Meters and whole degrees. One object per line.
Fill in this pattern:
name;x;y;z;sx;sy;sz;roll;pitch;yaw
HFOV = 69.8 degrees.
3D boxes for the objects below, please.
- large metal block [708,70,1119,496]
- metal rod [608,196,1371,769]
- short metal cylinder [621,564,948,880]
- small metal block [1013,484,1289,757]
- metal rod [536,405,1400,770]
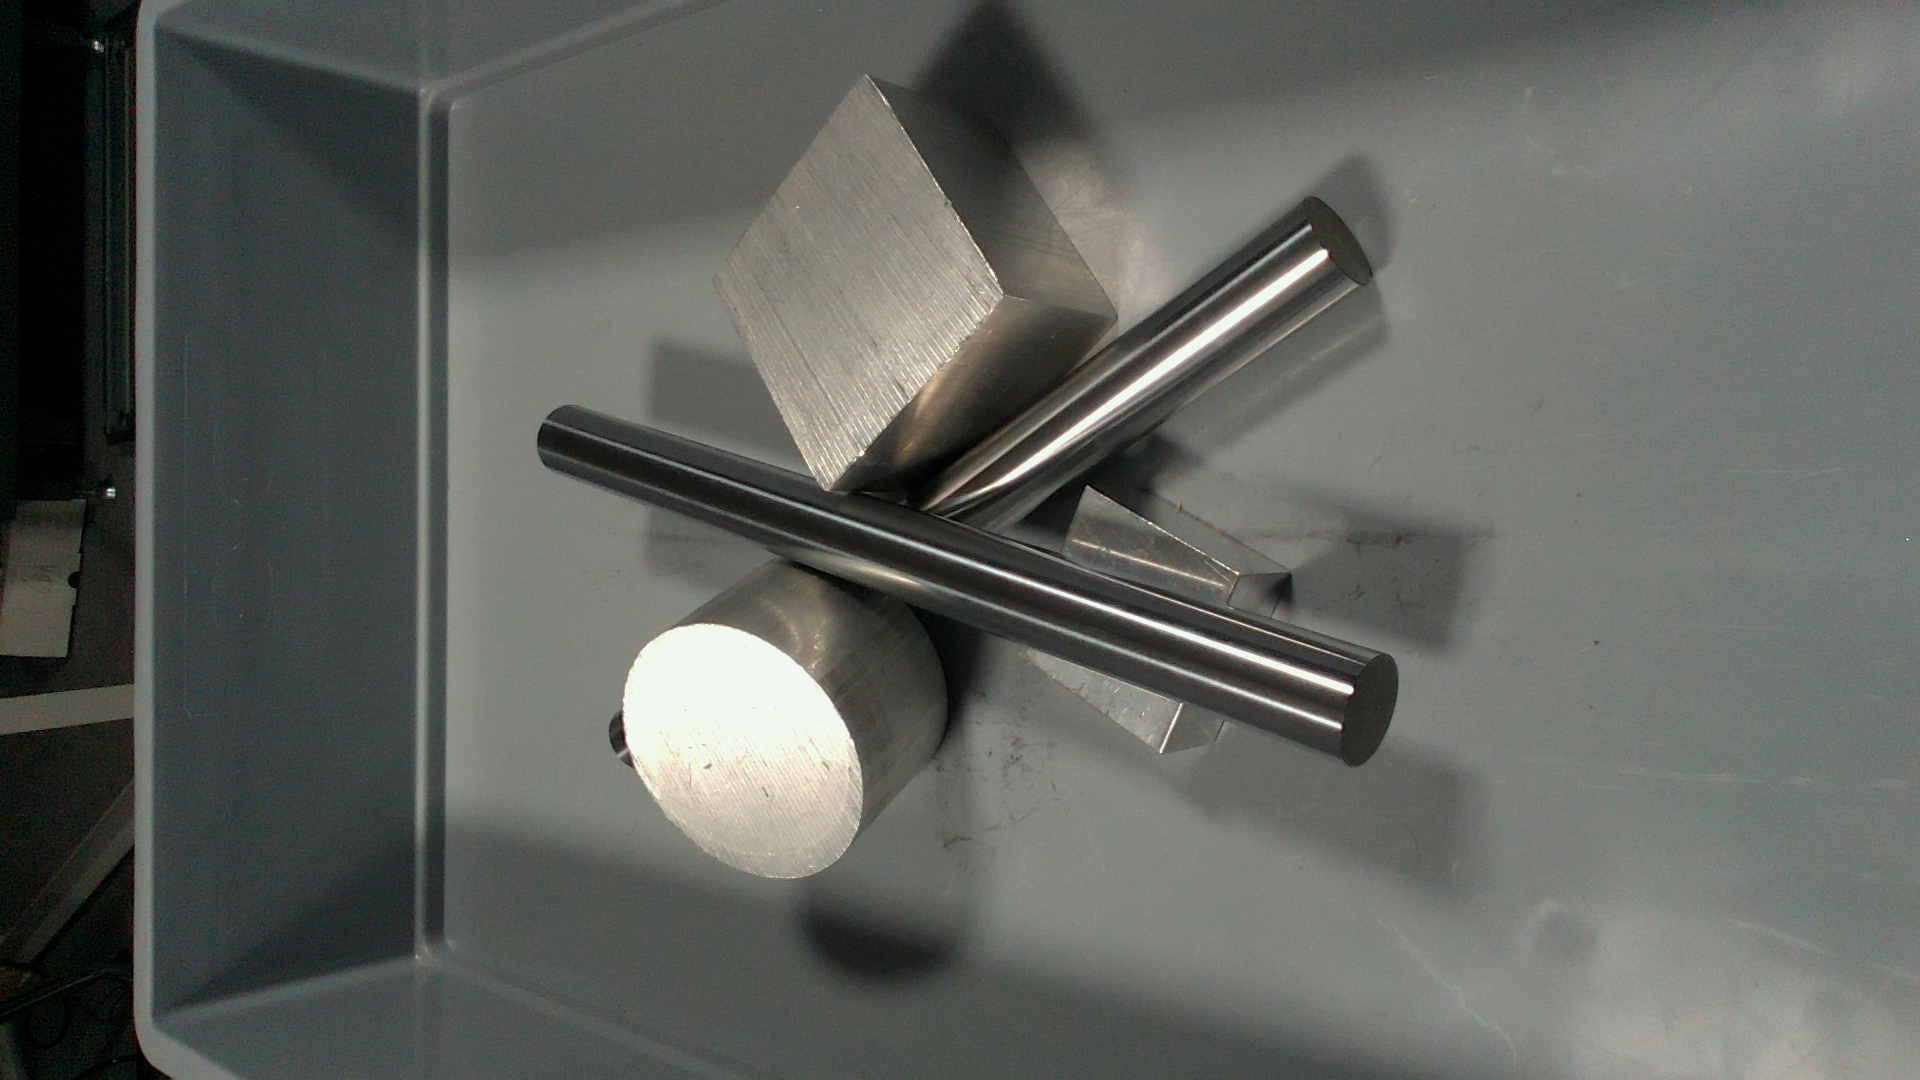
large metal block;-0.016;-0.069;0.389;0.080;0.050;0.080;-44;64;31
metal rod;-0.013;0.001;0.404;0.299;0.025;0.025;-35;68;35
short metal cylinder;-0.051;0.051;0.401;0.080;0.050;0.080;11;116;24
small metal block;0.048;0.019;0.351;0.050;0.025;0.050;33;111;35
metal rod;-0.025;0.001;0.381;0.299;0.025;0.025;18;101;39
